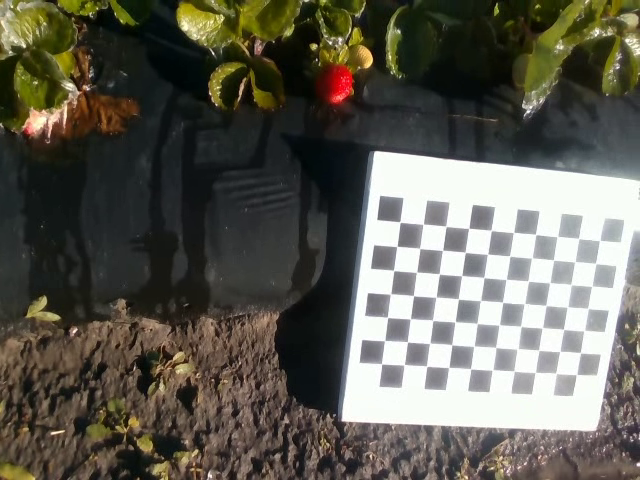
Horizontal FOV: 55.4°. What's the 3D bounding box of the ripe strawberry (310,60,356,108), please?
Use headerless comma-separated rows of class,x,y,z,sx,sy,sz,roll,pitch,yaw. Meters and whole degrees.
ripe strawberry,0.011,-0.111,0.446,0.039,0.040,0.039,-3,34,1
